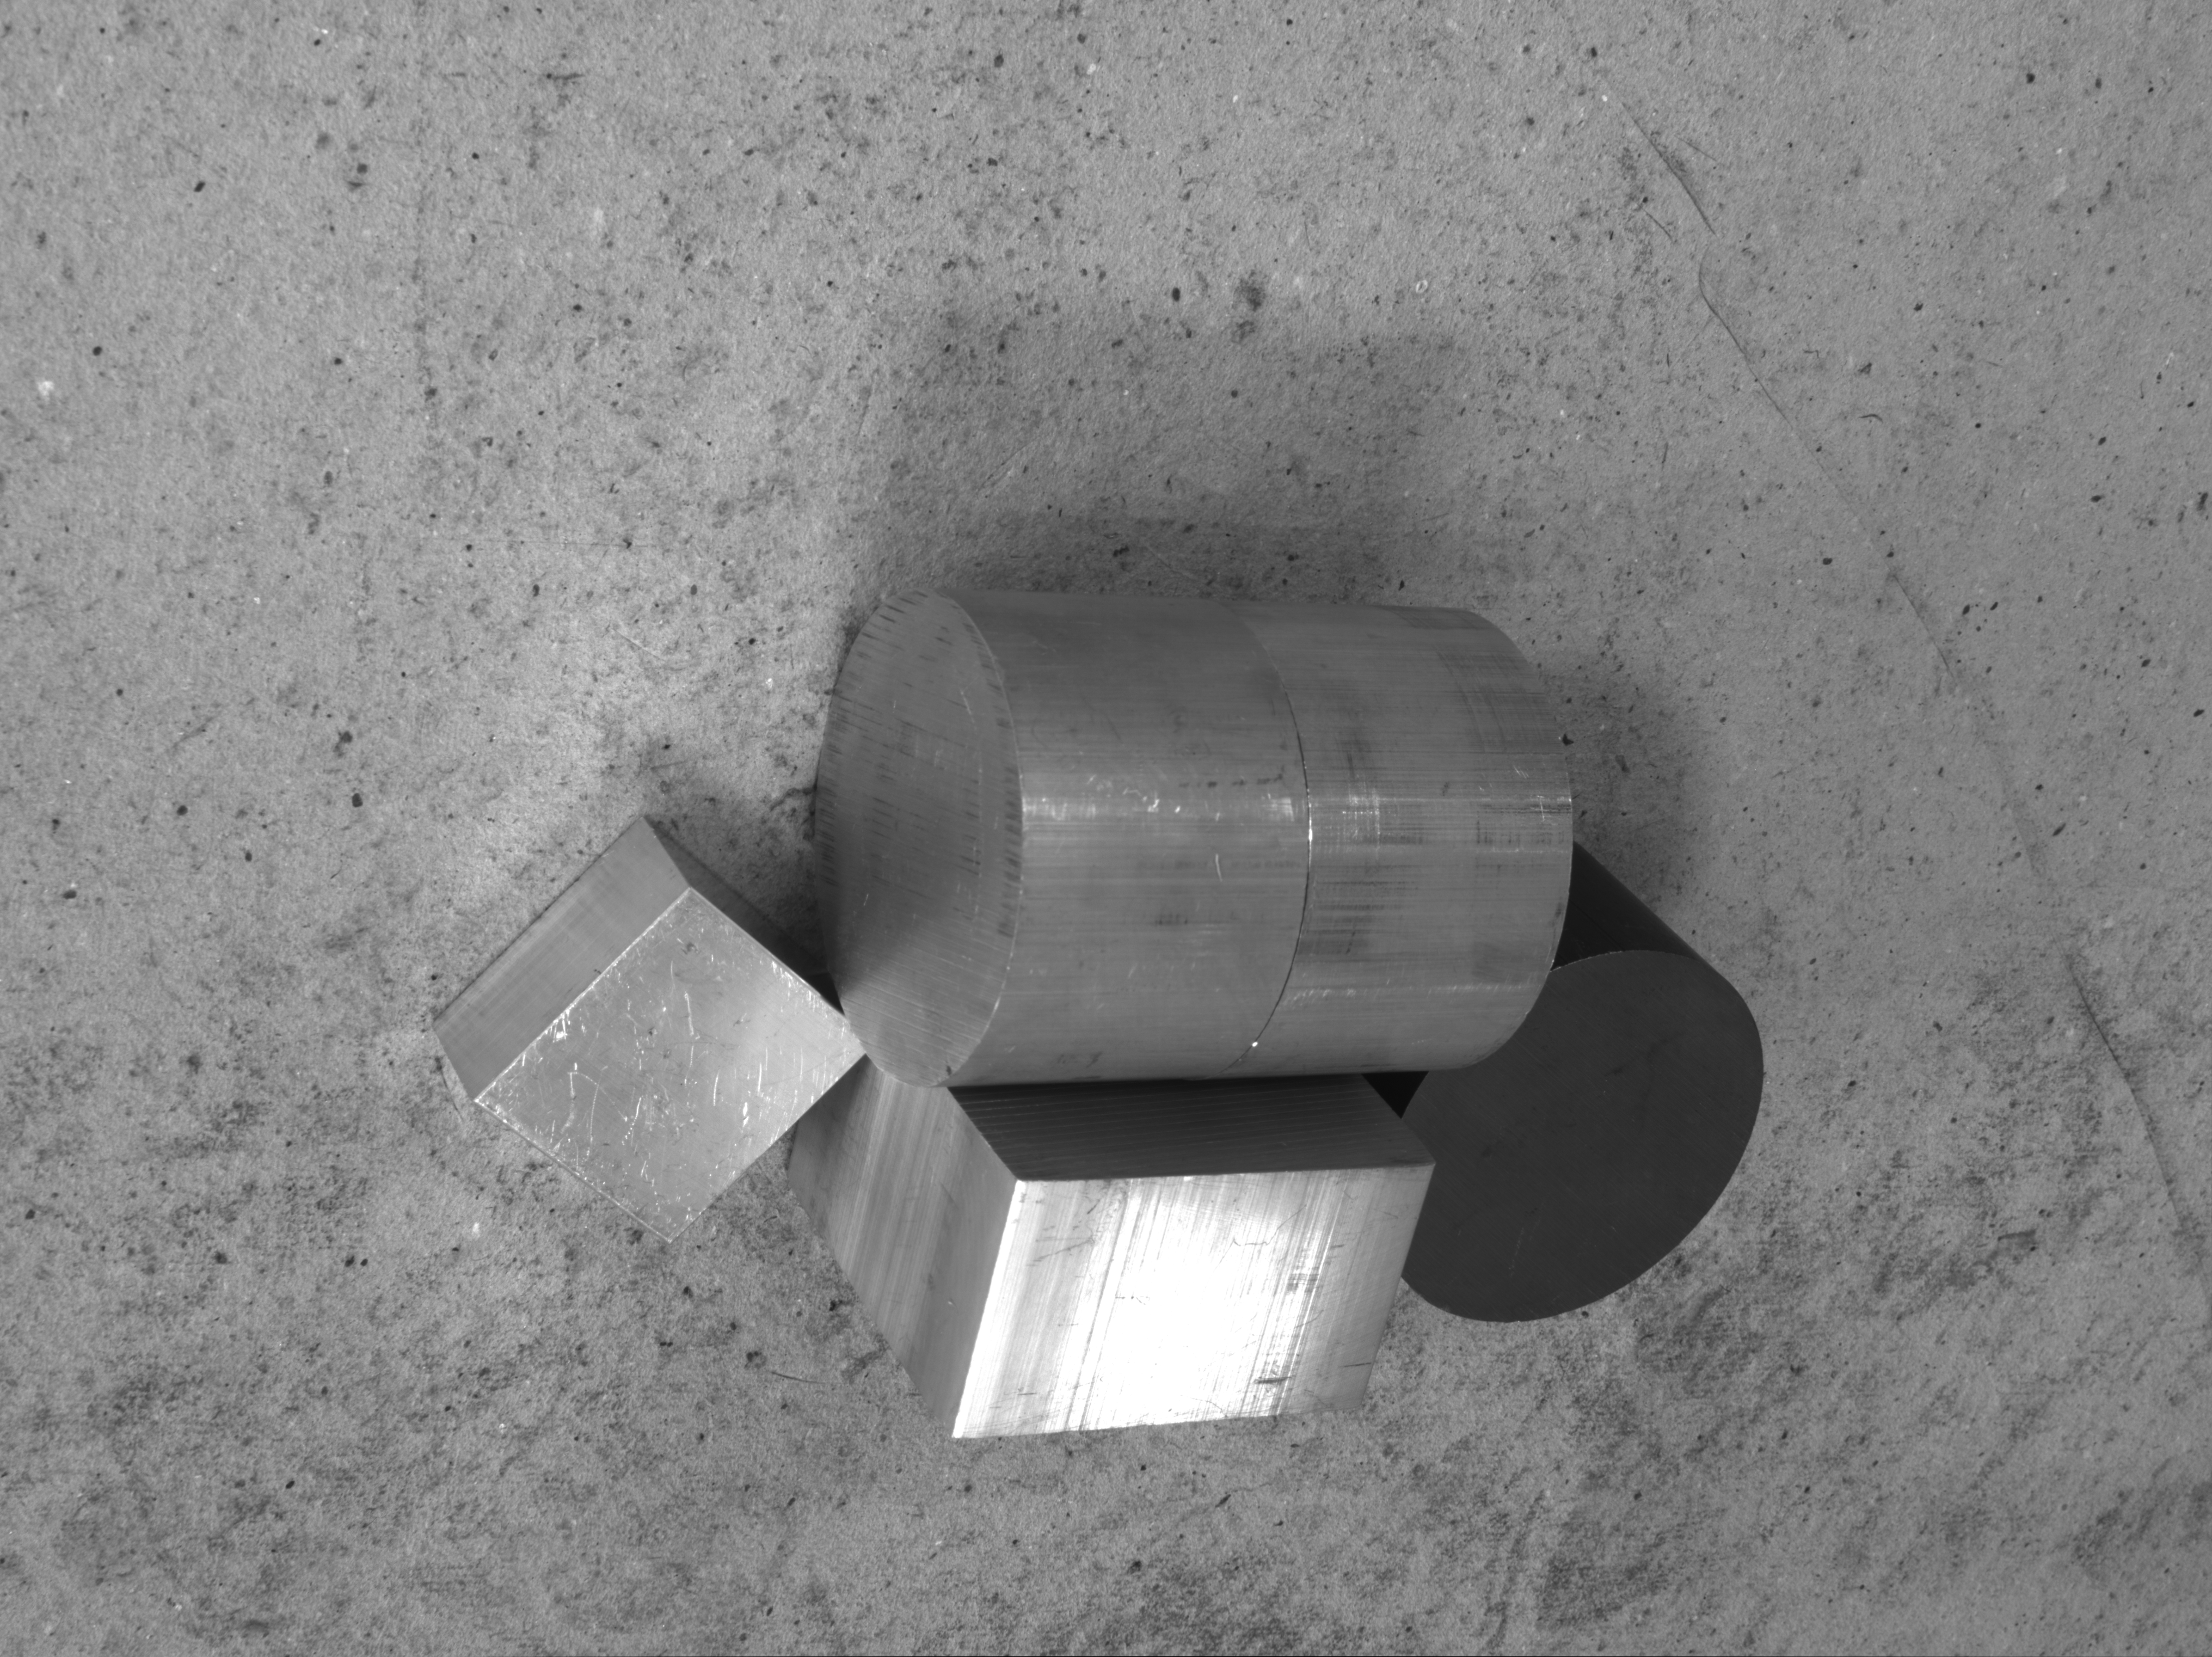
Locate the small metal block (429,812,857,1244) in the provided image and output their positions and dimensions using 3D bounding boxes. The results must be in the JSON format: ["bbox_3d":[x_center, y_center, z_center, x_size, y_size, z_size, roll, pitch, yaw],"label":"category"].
[{"bbox_3d":[-0.076,0.034,0.619,0.050,0.025,0.050,-44,129,2],"label":"small metal block"}]

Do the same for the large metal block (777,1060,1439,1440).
[{"bbox_3d":[-0.002,0.059,0.639,0.080,0.080,0.050,1,118,-28],"label":"large metal block"}]

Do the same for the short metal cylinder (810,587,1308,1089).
[{"bbox_3d":[-0.009,0.002,0.599,0.050,0.080,0.080,1,118,-28],"label":"short metal cylinder"}]

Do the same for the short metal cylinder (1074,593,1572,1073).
[{"bbox_3d":[0.035,0.001,0.623,0.050,0.080,0.080,1,118,-28],"label":"short metal cylinder"}]

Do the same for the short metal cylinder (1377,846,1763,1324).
[{"bbox_3d":[0.076,0.045,0.690,0.080,0.050,0.080,-13,124,-21],"label":"short metal cylinder"}]
